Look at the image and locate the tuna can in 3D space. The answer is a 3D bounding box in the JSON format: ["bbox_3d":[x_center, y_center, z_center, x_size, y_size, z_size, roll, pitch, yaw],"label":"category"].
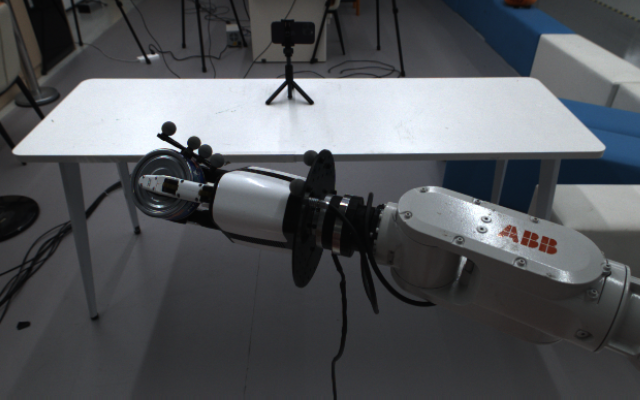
[{"bbox_3d":[-0.185,-0.019,0.591,0.085,0.085,0.034,12,-4,14],"label":"tuna can"}]
